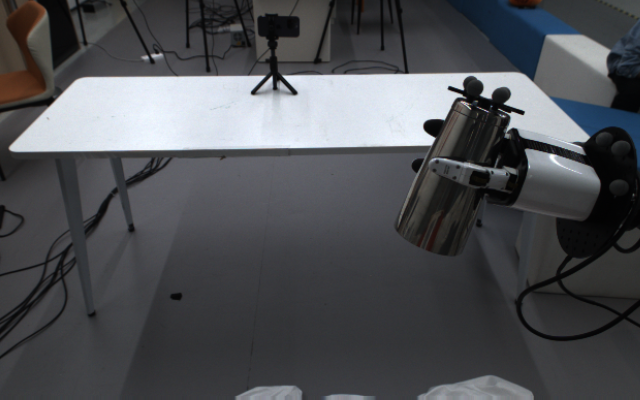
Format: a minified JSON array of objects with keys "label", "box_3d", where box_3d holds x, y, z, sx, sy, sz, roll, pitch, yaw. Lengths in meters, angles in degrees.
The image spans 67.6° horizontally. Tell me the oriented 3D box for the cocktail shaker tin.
[{"label":"cocktail shaker tin","box_3d":[0.163,-0.030,0.582,0.093,0.170,0.093,16,21,-6]}]
